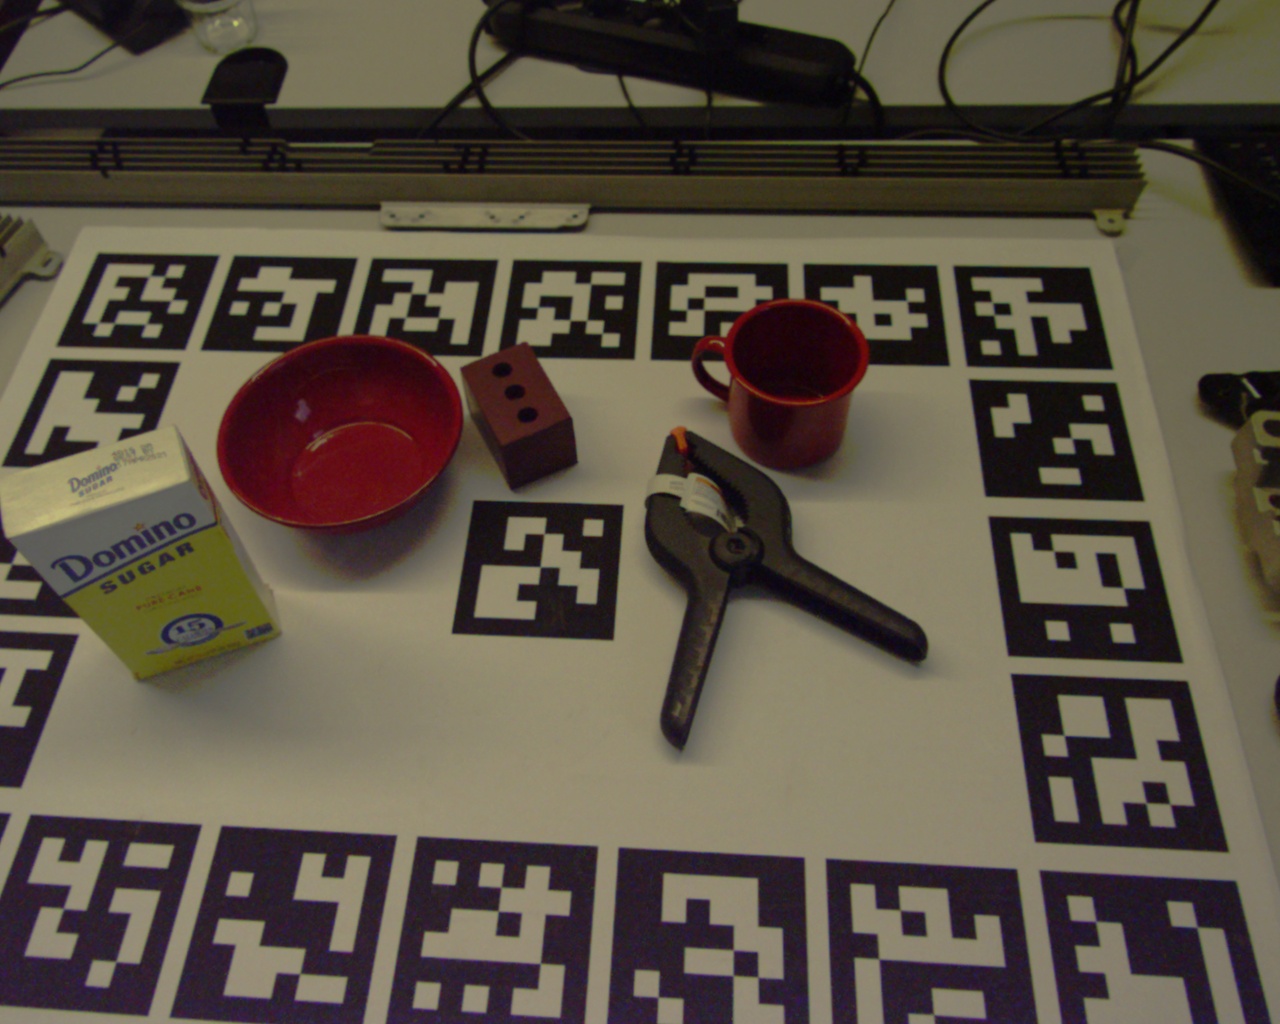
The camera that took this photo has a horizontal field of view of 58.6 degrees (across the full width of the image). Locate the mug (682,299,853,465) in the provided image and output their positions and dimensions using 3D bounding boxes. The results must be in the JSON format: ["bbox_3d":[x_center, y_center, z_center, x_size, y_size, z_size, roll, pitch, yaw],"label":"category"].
[{"bbox_3d":[0.083,-0.091,0.794,0.118,0.081,0.093,25,62,13],"label":"mug"}]

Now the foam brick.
[{"bbox_3d":[-0.087,-0.061,0.811,0.052,0.051,0.079,-23,60,-11],"label":"foam brick"}]

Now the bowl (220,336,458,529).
[{"bbox_3d":[-0.205,-0.045,0.797,0.162,0.055,0.162,-1,57,1],"label":"bowl"}]

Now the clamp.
[{"bbox_3d":[0.046,0.026,0.743,0.165,0.036,0.204,-20,60,-7],"label":"clamp"}]

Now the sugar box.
[{"bbox_3d":[-0.285,0.033,0.680,0.092,0.176,0.046,-19,61,-12],"label":"sugar box"}]
